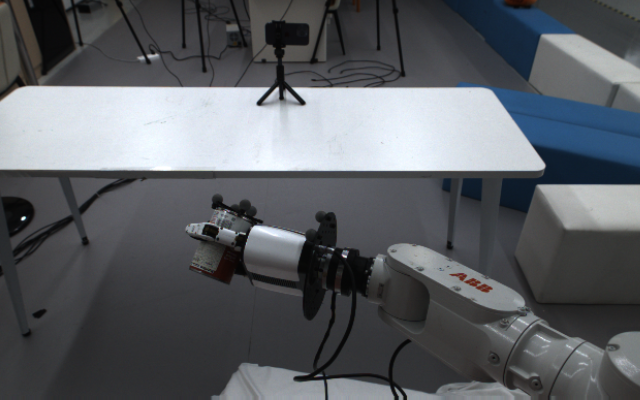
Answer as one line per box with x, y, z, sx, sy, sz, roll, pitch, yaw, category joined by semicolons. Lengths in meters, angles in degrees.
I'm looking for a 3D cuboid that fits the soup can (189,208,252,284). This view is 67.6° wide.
-0.149;0.072;0.737;0.067;0.067;0.101;16;75;20;soup can
